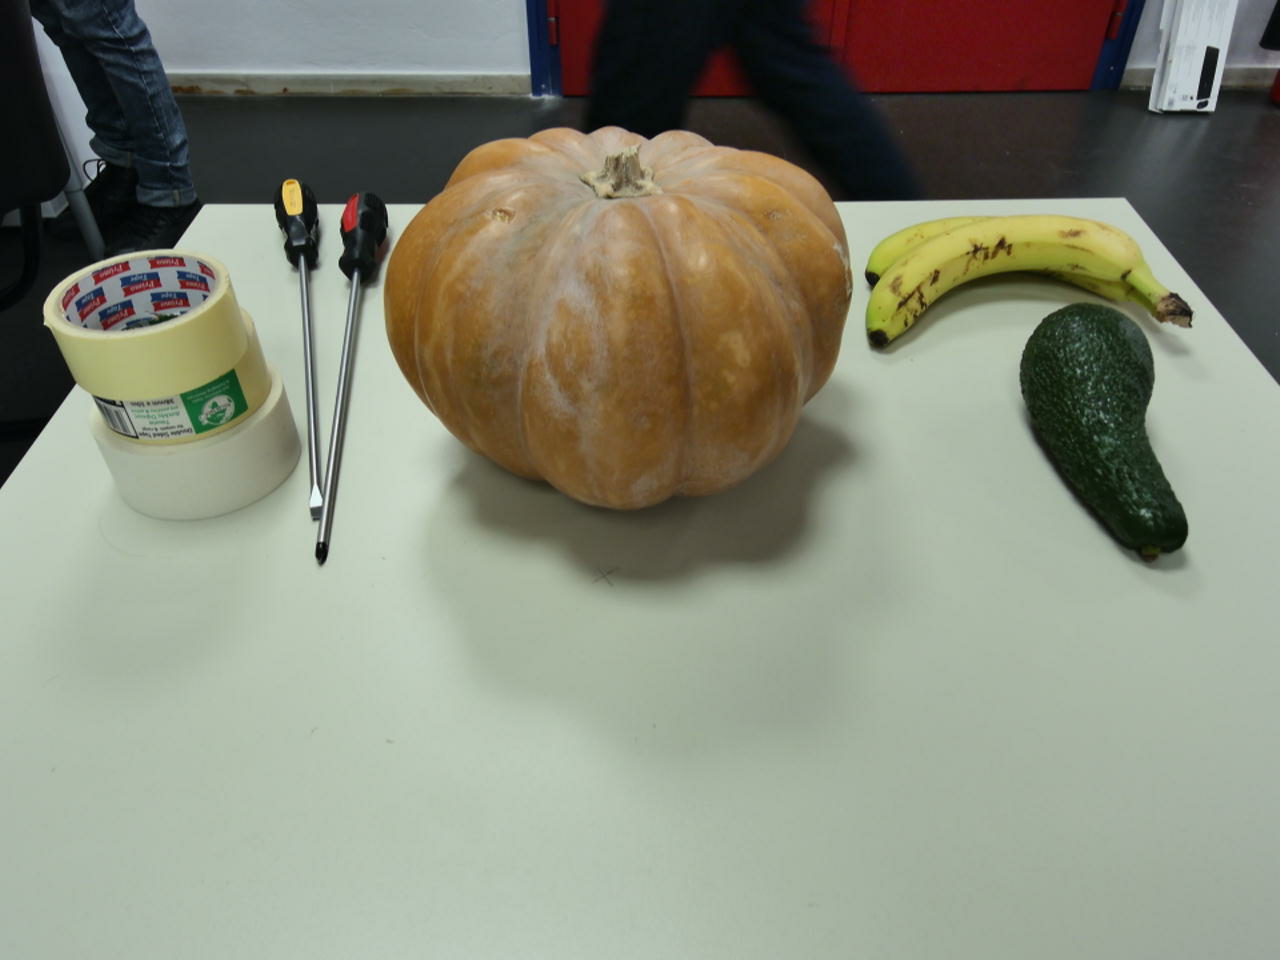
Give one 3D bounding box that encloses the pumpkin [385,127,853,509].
[{"bbox_3d":[-0.011,-0.101,0.580,0.277,0.181,0.277,0,39,0],"label":"pumpkin"}]
